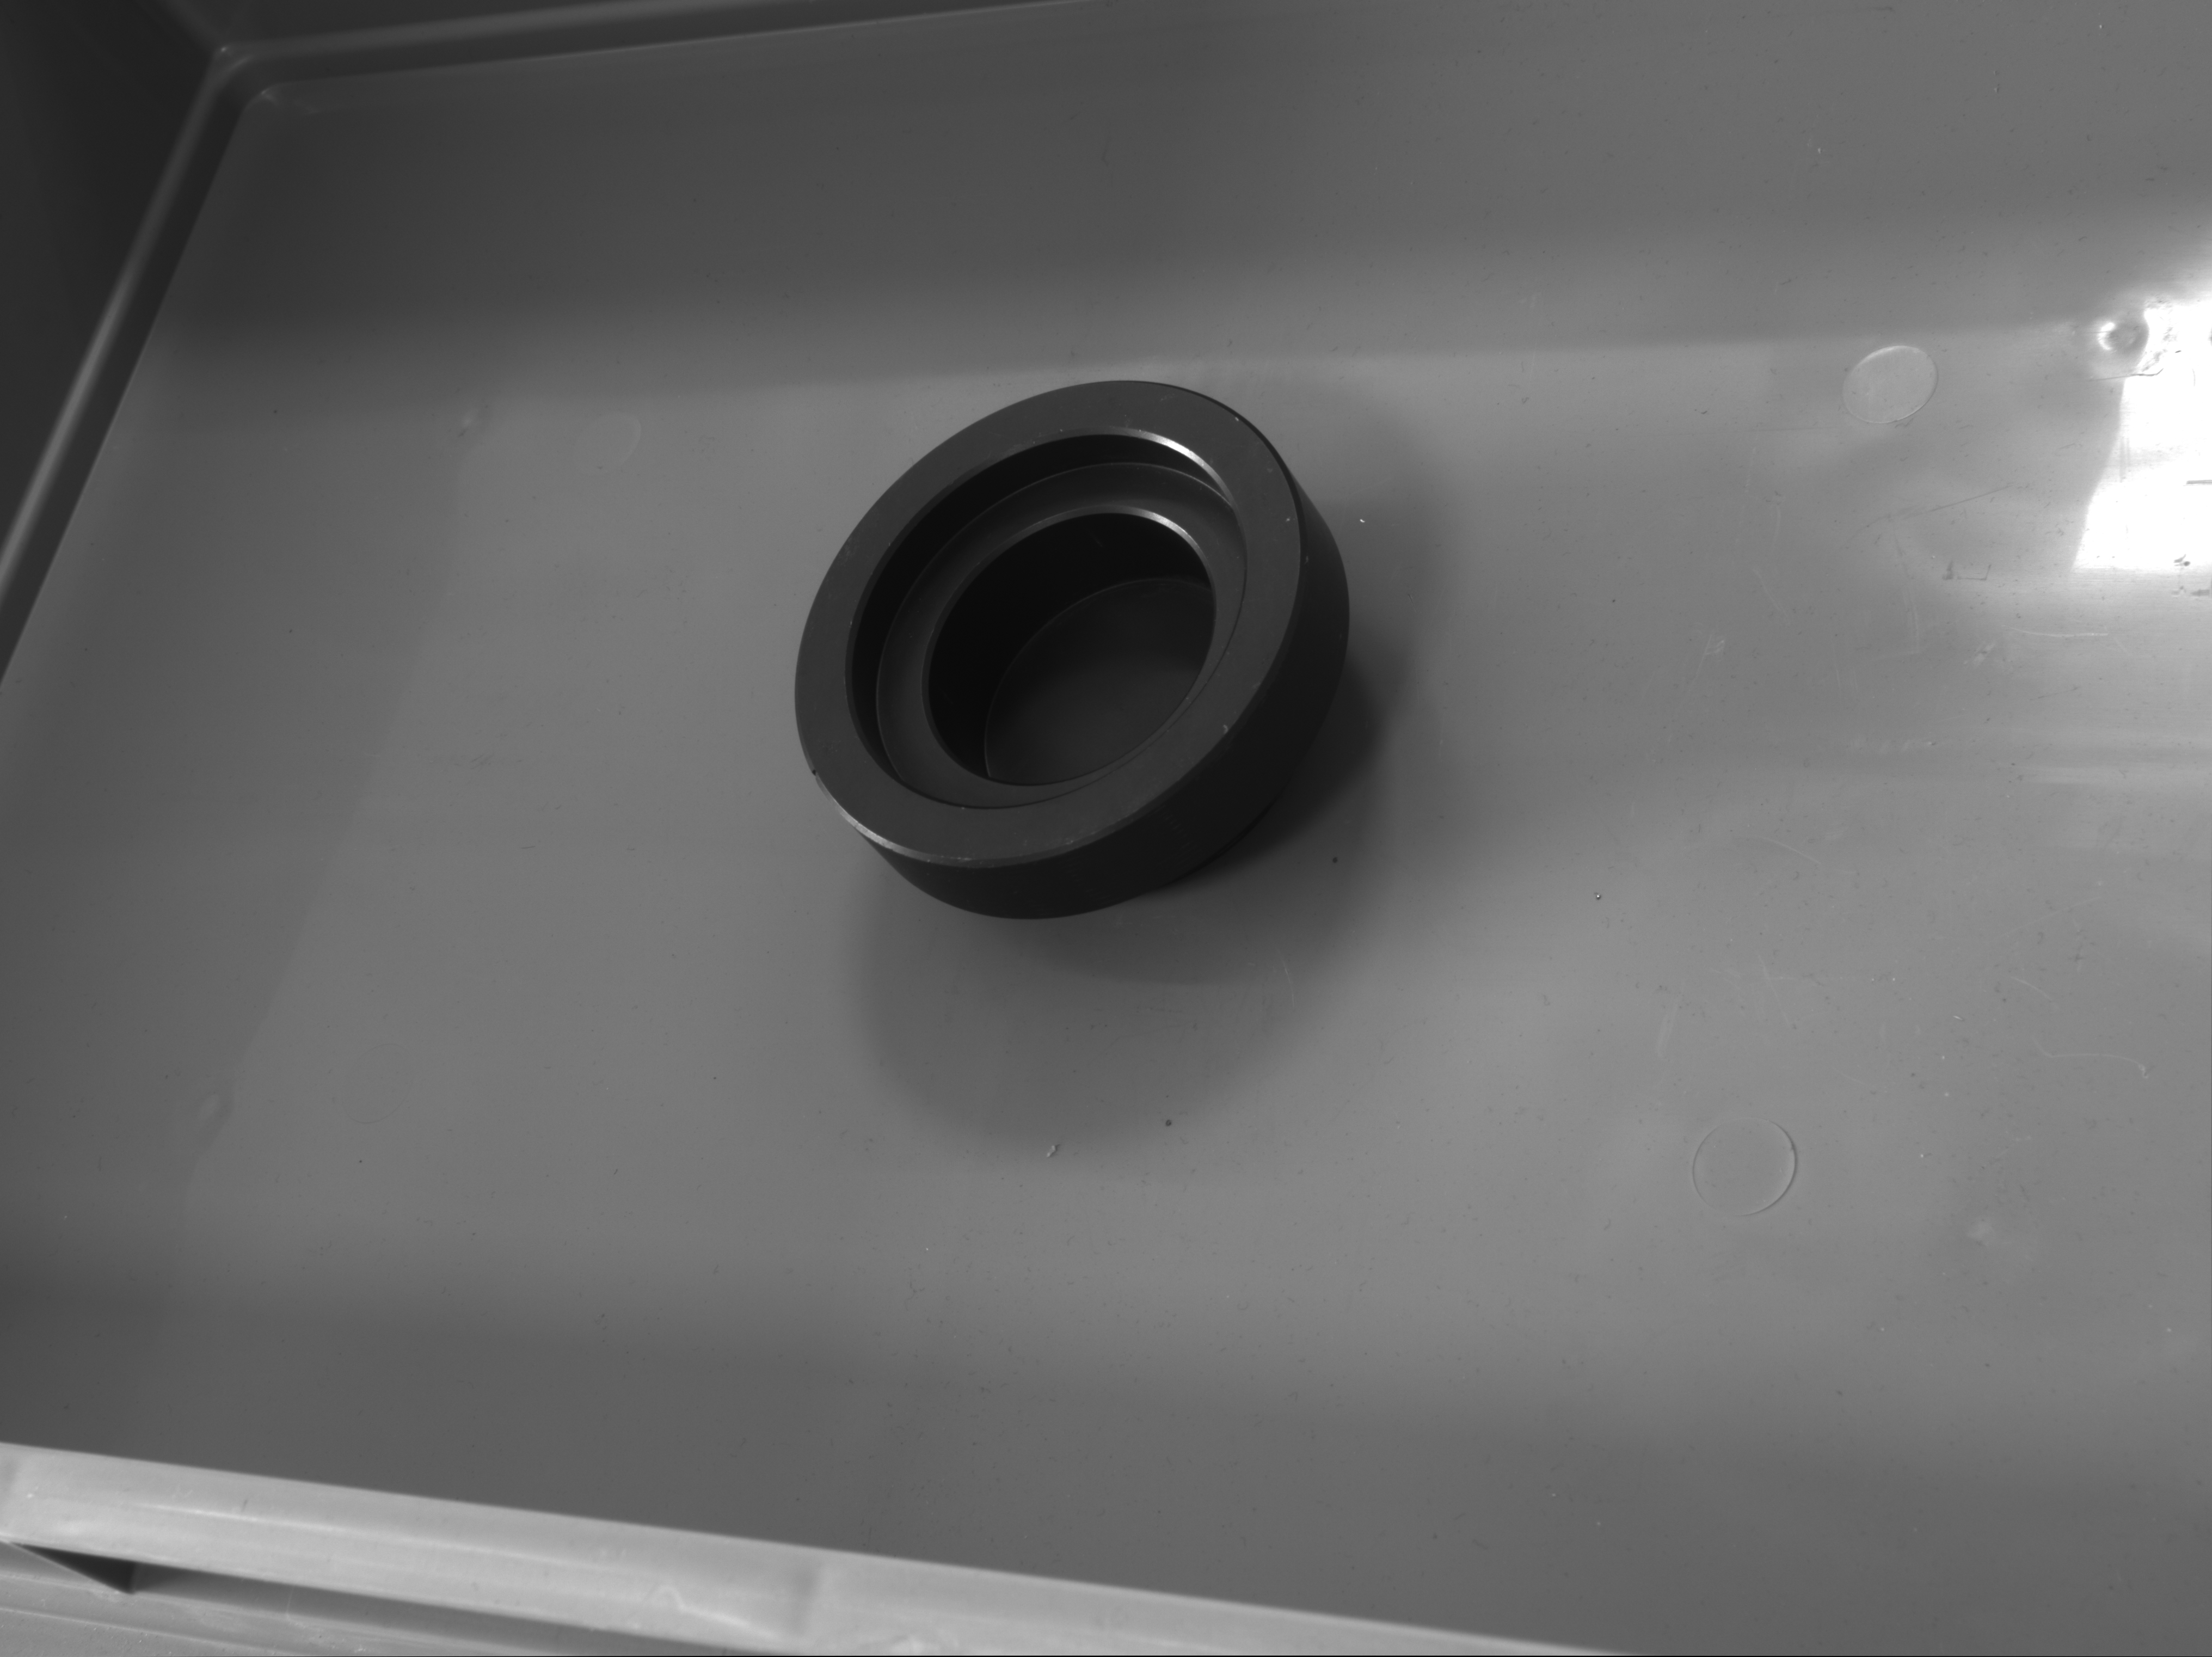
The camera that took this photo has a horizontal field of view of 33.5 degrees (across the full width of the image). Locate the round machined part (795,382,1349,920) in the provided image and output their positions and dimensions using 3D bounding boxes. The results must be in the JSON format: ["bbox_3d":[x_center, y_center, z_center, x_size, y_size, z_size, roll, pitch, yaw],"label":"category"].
[{"bbox_3d":[-0.002,-0.027,0.649,0.098,0.042,0.098,-14,56,21],"label":"round machined part"}]
